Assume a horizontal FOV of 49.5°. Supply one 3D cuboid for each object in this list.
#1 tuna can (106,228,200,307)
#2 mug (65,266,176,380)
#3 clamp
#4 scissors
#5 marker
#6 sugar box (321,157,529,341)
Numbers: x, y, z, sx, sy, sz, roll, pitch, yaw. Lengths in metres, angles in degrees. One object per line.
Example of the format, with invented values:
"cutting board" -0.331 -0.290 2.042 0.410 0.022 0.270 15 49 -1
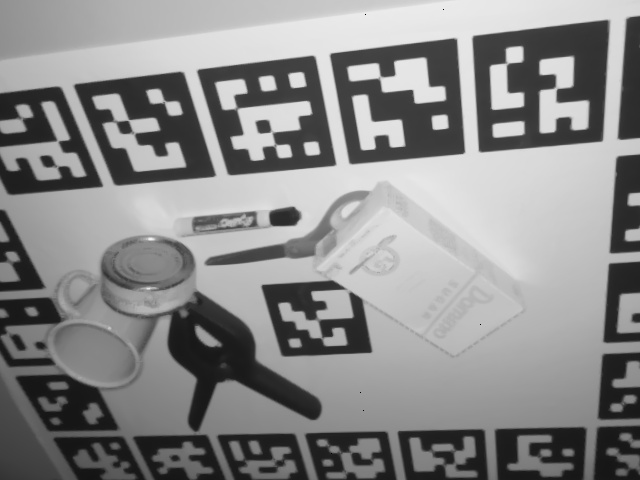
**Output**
"tuna can" -0.158 0.024 0.658 0.086 0.087 0.033 9 122 4
"mug" -0.203 0.072 0.701 0.092 0.082 0.117 -33 115 25
"clamp" -0.092 0.124 0.751 0.164 0.037 0.202 -16 116 18
"scissors" -0.009 -0.002 0.657 0.201 0.016 0.087 -16 122 19
"marker" -0.062 -0.034 0.649 0.120 0.020 0.019 -10 118 13
"sugar box" 0.097 0.014 0.632 0.177 0.046 0.091 36 120 -20
